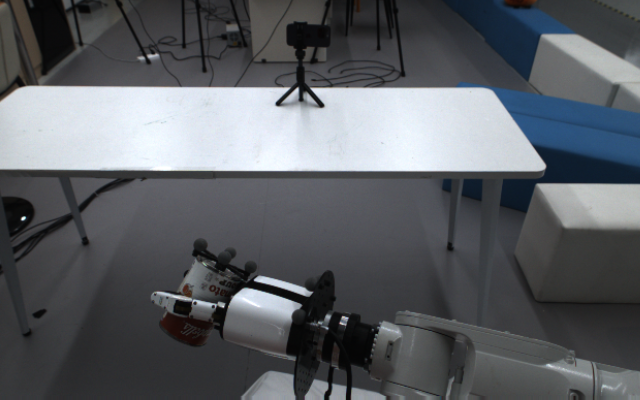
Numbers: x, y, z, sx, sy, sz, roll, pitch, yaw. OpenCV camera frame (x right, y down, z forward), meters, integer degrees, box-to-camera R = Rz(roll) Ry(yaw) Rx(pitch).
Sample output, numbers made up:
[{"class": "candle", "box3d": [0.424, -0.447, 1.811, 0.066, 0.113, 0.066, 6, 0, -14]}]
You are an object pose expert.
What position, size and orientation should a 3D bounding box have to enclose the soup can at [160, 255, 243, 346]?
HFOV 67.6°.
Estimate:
[{"class": "soup can", "box3d": [-0.156, 0.133, 0.636, 0.067, 0.101, 0.067, 29, -2, 1]}]
